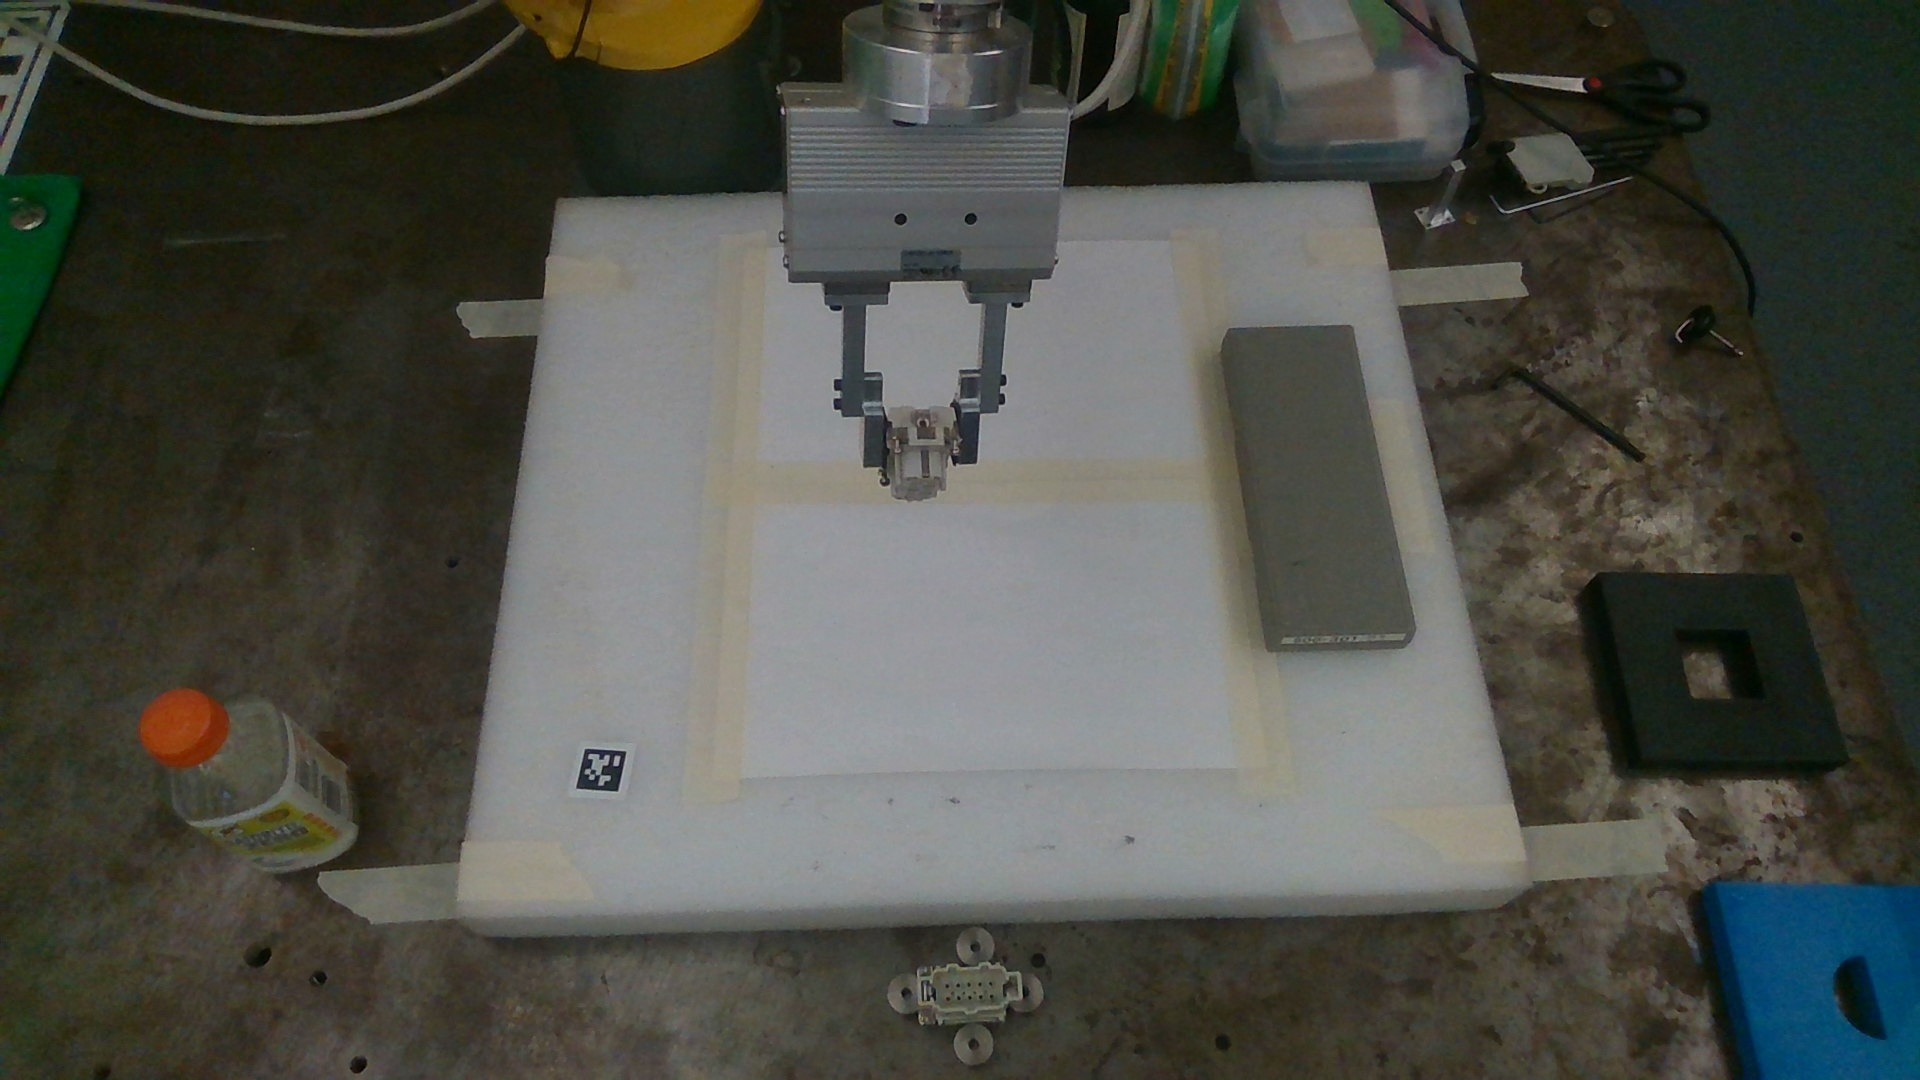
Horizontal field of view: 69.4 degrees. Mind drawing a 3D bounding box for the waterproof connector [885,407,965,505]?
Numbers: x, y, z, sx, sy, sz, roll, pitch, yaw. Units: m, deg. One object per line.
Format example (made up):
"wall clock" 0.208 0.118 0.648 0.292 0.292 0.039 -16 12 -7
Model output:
"waterproof connector" -0.018 -0.041 0.682 0.037 0.069 0.038 -1 79 -4
